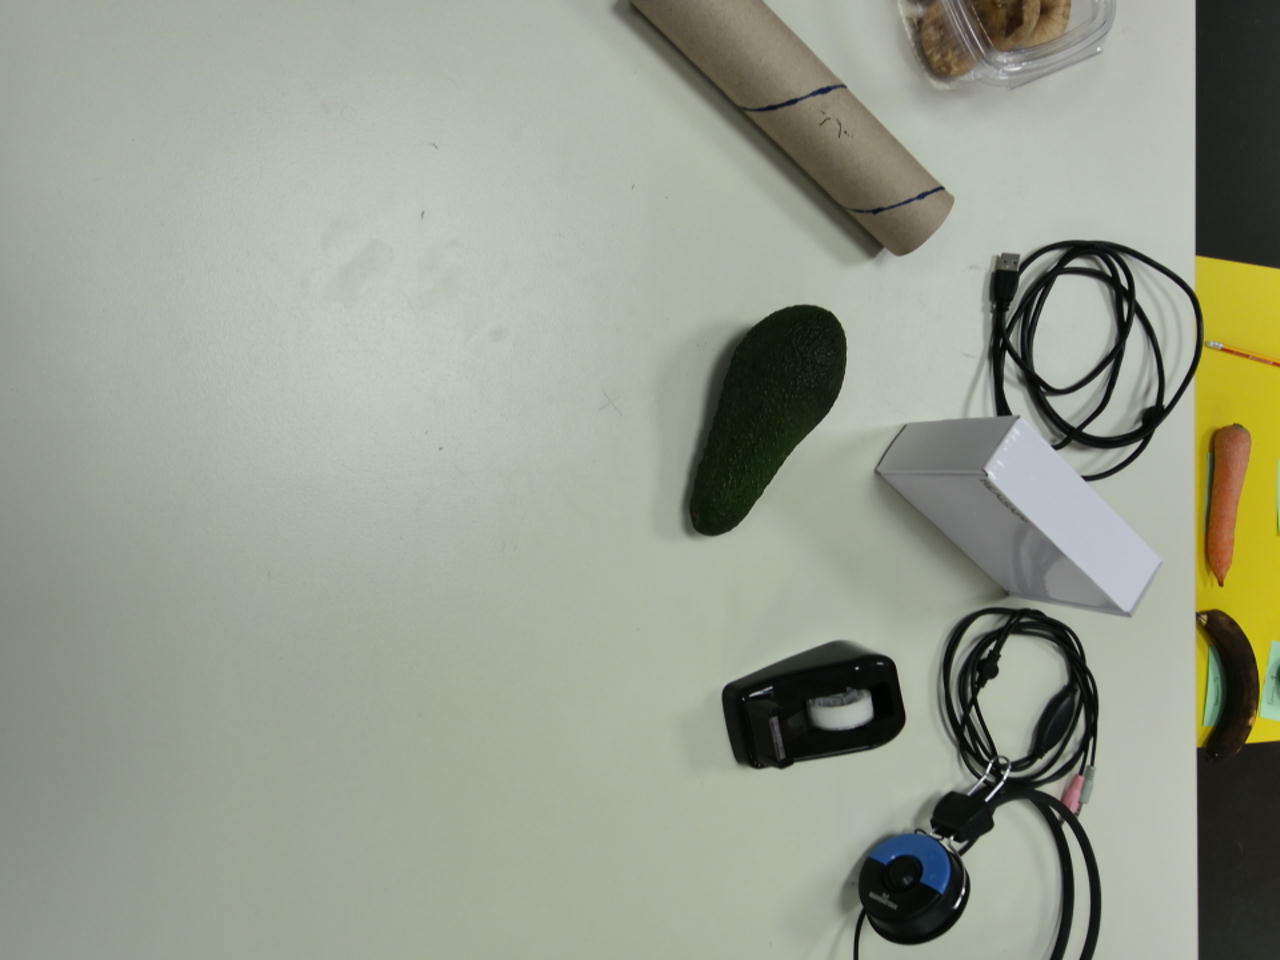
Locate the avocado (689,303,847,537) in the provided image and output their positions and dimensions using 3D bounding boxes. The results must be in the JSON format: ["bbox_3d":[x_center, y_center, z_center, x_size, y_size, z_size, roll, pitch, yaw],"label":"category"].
[{"bbox_3d":[0.075,-0.031,0.556,0.063,0.067,0.141,16,85,-21],"label":"avocado"}]
